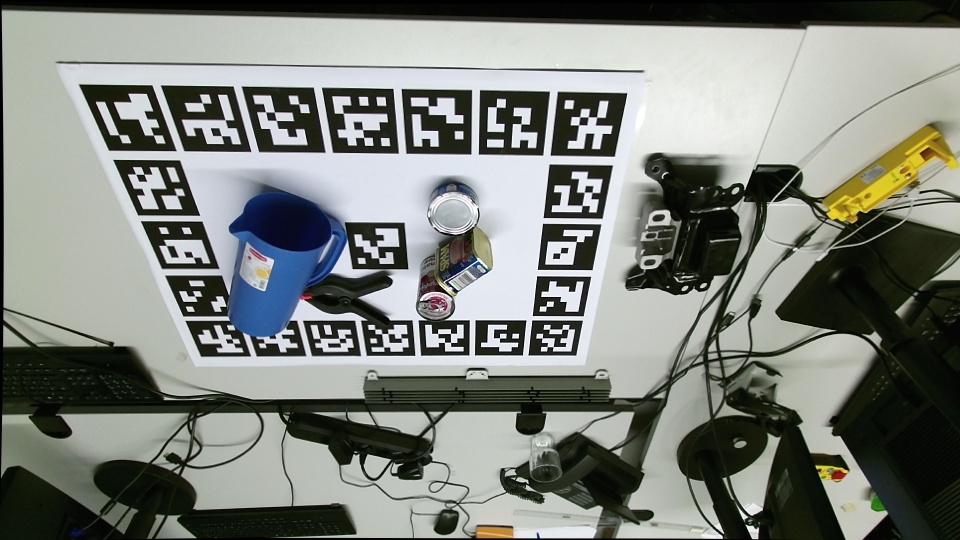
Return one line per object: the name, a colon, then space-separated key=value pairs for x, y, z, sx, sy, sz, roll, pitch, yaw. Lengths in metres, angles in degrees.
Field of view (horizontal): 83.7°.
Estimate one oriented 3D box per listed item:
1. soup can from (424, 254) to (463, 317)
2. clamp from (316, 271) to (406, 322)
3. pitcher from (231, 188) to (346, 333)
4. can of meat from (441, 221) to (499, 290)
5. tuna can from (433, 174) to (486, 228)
soup can: x=-0.065 y=0.025 z=0.952 sx=0.068 sy=0.101 sz=0.068 roll=-3 pitch=124 yaw=-4
clamp: x=-0.225 y=0.048 z=1.013 sx=0.166 sy=0.036 sz=0.122 roll=3 pitch=130 yaw=-1
pitcher: x=-0.333 y=-0.005 z=0.894 sx=0.189 sy=0.132 sz=0.243 roll=3 pitch=137 yaw=-32
can of meat: x=-0.016 y=-0.028 z=0.910 sx=0.084 sy=0.101 sz=0.058 roll=-32 pitch=120 yaw=15
tuna can: x=-0.034 y=-0.114 z=0.891 sx=0.086 sy=0.033 sz=0.086 roll=-1 pitch=124 yaw=-2
